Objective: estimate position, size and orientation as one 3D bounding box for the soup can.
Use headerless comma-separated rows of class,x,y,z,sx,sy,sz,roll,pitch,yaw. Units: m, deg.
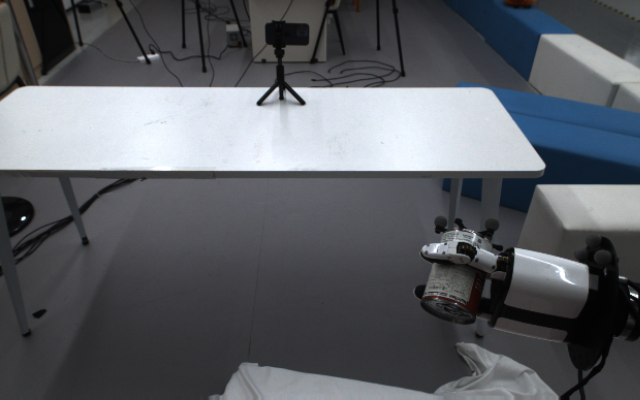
soup can,0.174,0.093,0.611,0.067,0.067,0.101,15,64,18
